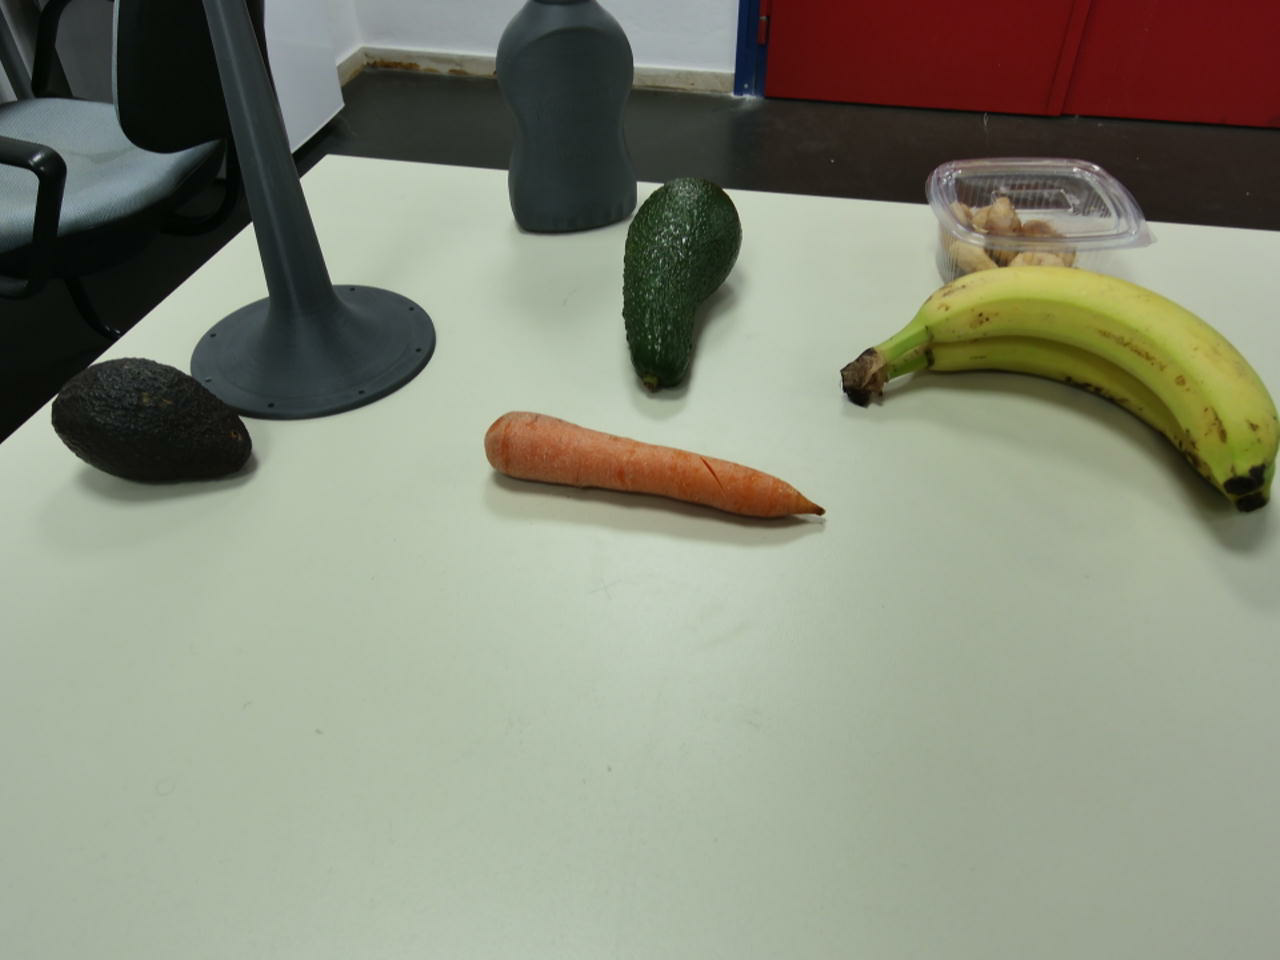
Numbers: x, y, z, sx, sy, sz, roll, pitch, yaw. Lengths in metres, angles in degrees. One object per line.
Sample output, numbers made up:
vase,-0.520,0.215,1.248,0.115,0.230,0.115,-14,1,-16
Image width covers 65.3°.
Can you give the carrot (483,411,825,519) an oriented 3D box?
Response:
carrot,0.007,-0.009,0.559,0.196,0.041,0.039,9,39,10
